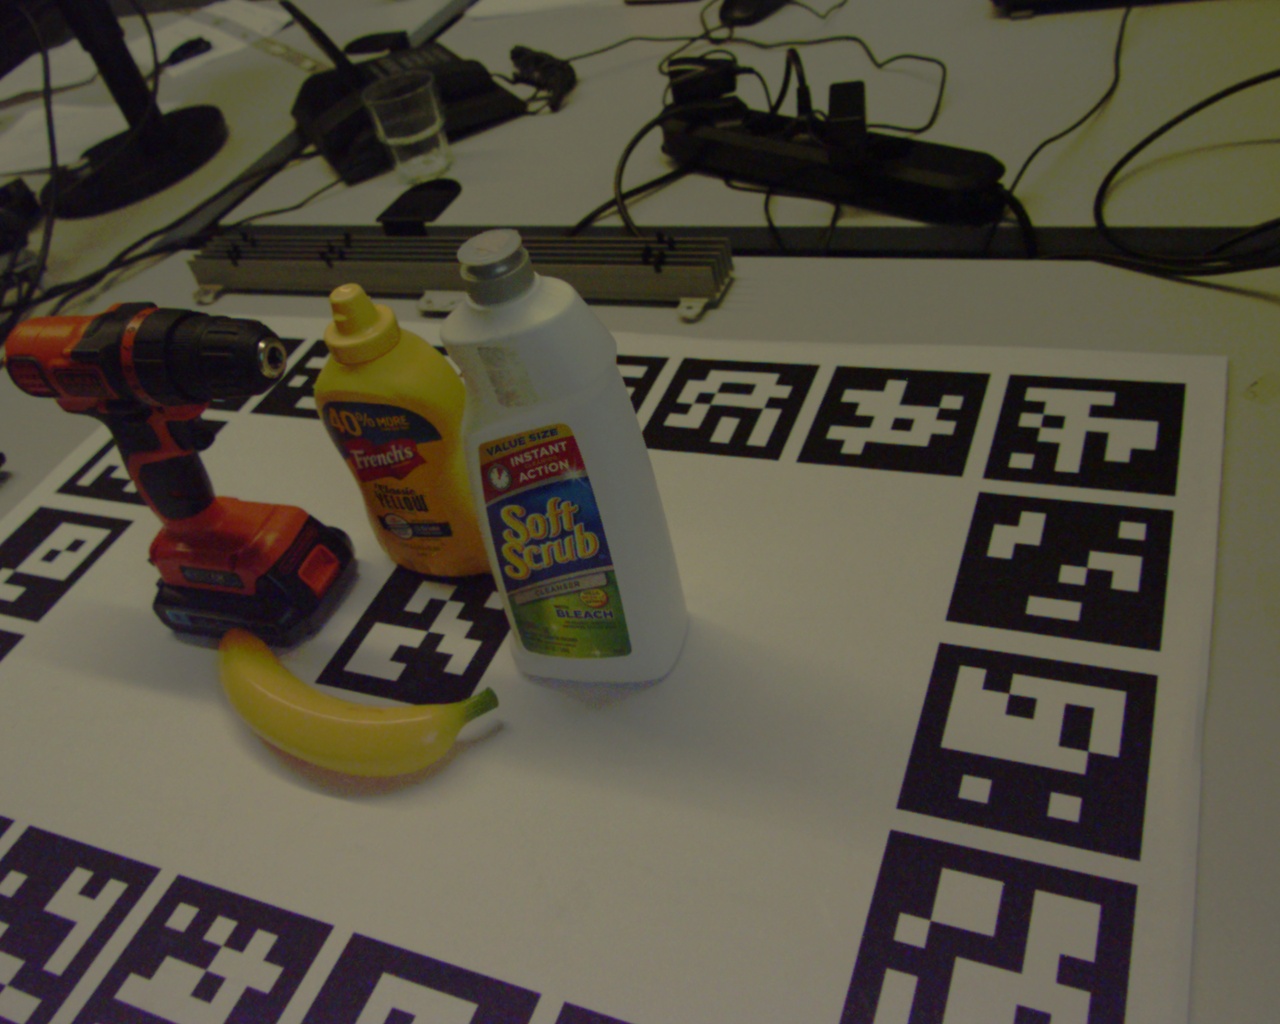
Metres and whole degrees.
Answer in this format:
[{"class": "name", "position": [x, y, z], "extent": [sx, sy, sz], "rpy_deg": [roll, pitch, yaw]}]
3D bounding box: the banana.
[{"class": "banana", "position": [-0.171, 0.104, 0.658], "extent": [0.200, 0.038, 0.074], "rpy_deg": [8, 52, 27]}]

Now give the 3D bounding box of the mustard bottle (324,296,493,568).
[{"class": "mustard bottle", "position": [-0.141, -0.049, 0.700], "extent": [0.097, 0.190, 0.058], "rpy_deg": [8, 47, 23]}]

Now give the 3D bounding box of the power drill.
[{"class": "power drill", "position": [-0.259, -0.031, 0.691], "extent": [0.186, 0.186, 0.057], "rpy_deg": [6, 40, 19]}]

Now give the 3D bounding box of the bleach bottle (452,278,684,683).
[{"class": "bleach bottle", "position": [-0.046, -0.010, 0.597], "extent": [0.103, 0.249, 0.068], "rpy_deg": [0, 46, 17]}]
